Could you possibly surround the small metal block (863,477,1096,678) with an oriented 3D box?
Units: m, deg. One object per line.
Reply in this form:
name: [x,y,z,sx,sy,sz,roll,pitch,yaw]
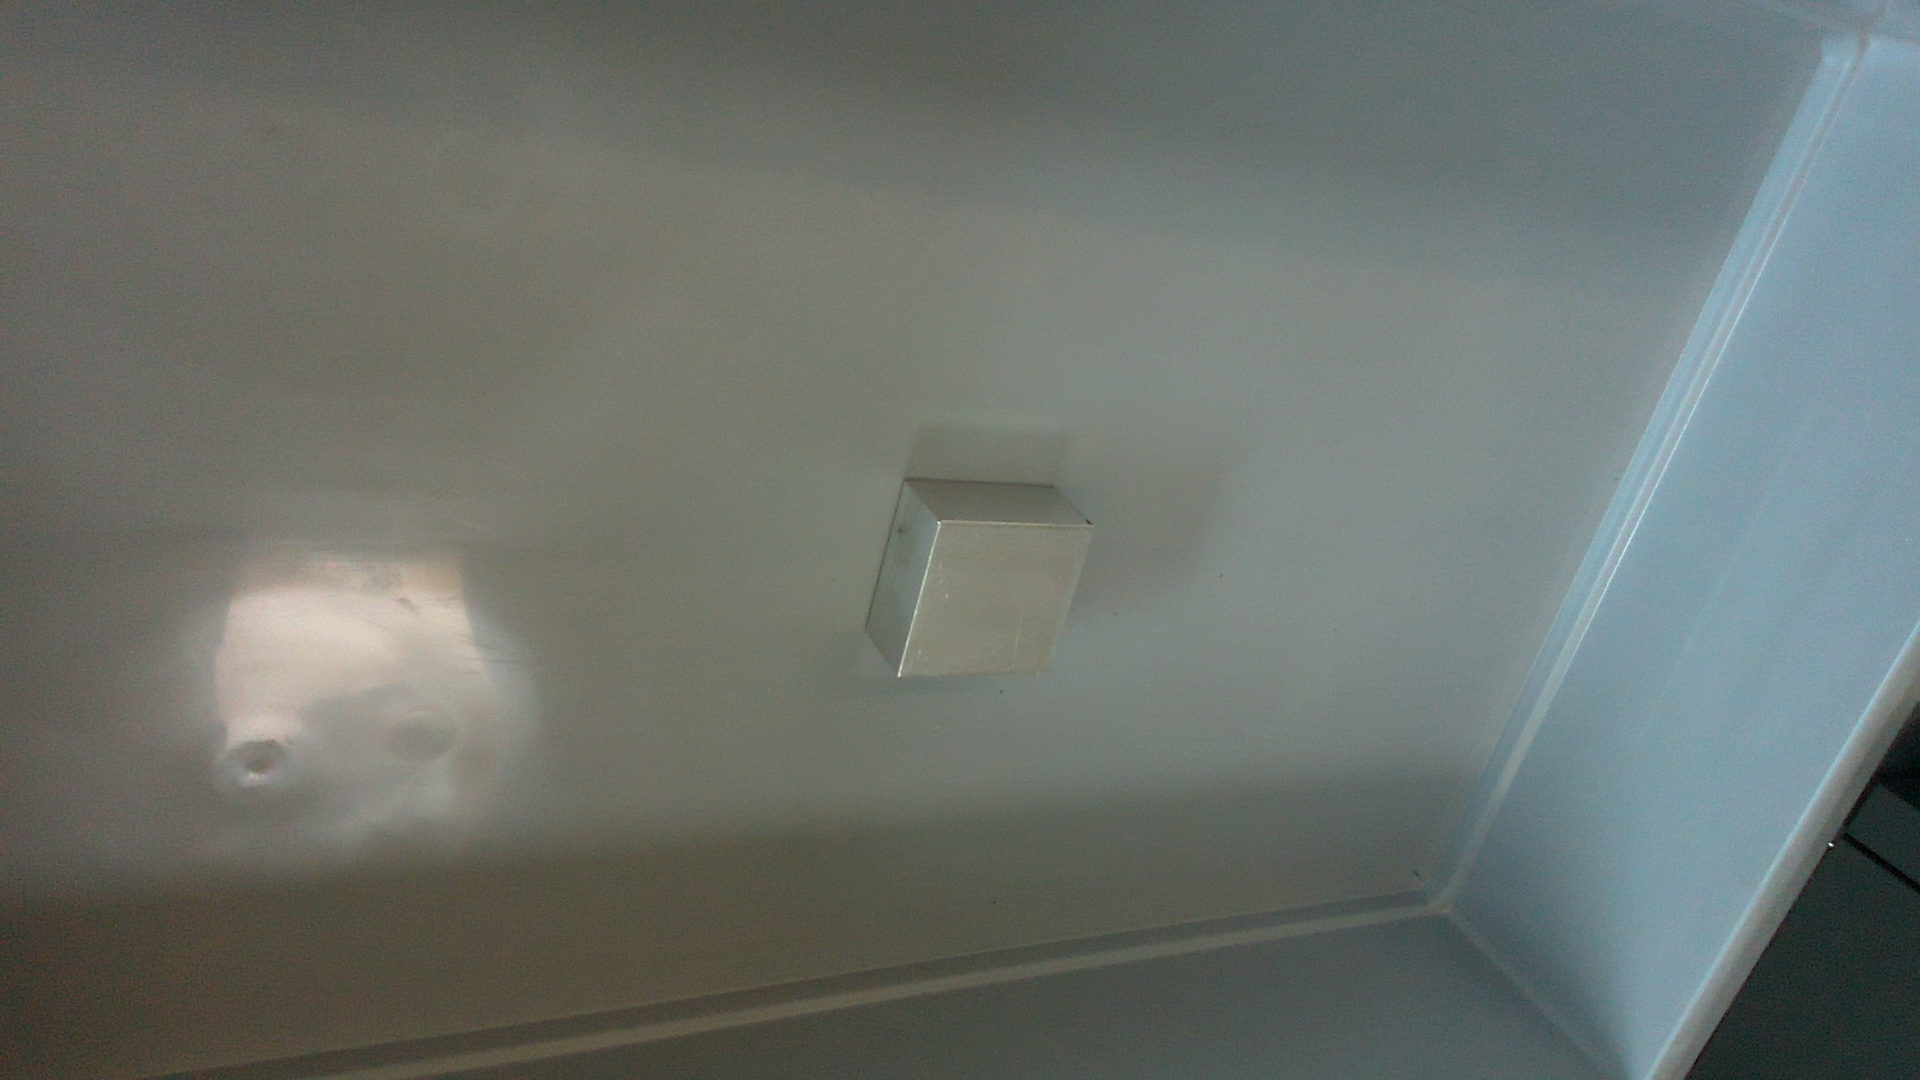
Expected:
small metal block: [0.005,0.011,0.394,0.050,0.025,0.050,2,118,-29]
